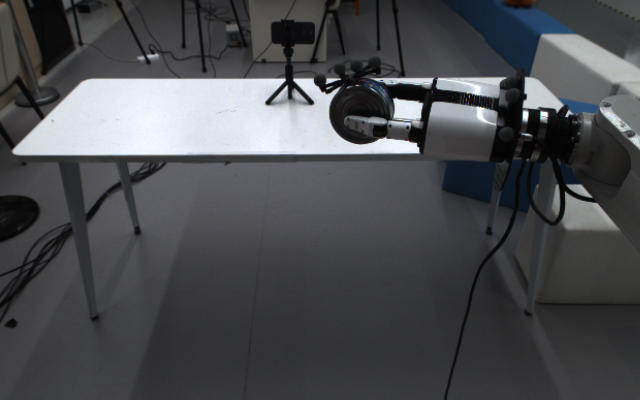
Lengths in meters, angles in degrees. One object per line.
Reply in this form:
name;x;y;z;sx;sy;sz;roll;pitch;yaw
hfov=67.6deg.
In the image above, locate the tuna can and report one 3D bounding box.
tuna can;0.060;-0.115;0.659;0.085;0.085;0.034;11;34;13
